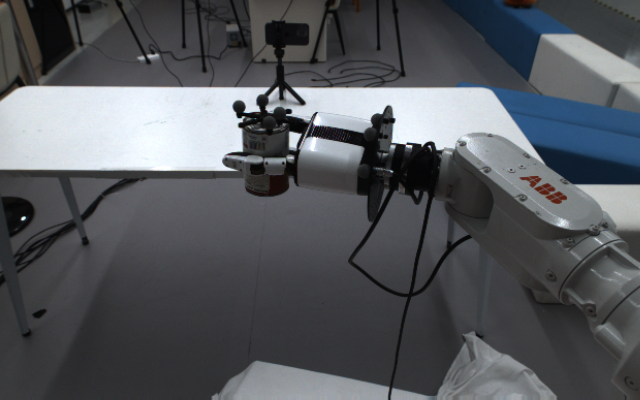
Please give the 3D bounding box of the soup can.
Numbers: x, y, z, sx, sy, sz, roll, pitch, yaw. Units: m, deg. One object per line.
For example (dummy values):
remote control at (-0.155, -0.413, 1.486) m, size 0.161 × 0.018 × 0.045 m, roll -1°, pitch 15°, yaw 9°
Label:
soup can at (-0.076, -0.065, 0.691) m, size 0.067 × 0.101 × 0.067 m, roll 2°, pitch 32°, yaw -1°
